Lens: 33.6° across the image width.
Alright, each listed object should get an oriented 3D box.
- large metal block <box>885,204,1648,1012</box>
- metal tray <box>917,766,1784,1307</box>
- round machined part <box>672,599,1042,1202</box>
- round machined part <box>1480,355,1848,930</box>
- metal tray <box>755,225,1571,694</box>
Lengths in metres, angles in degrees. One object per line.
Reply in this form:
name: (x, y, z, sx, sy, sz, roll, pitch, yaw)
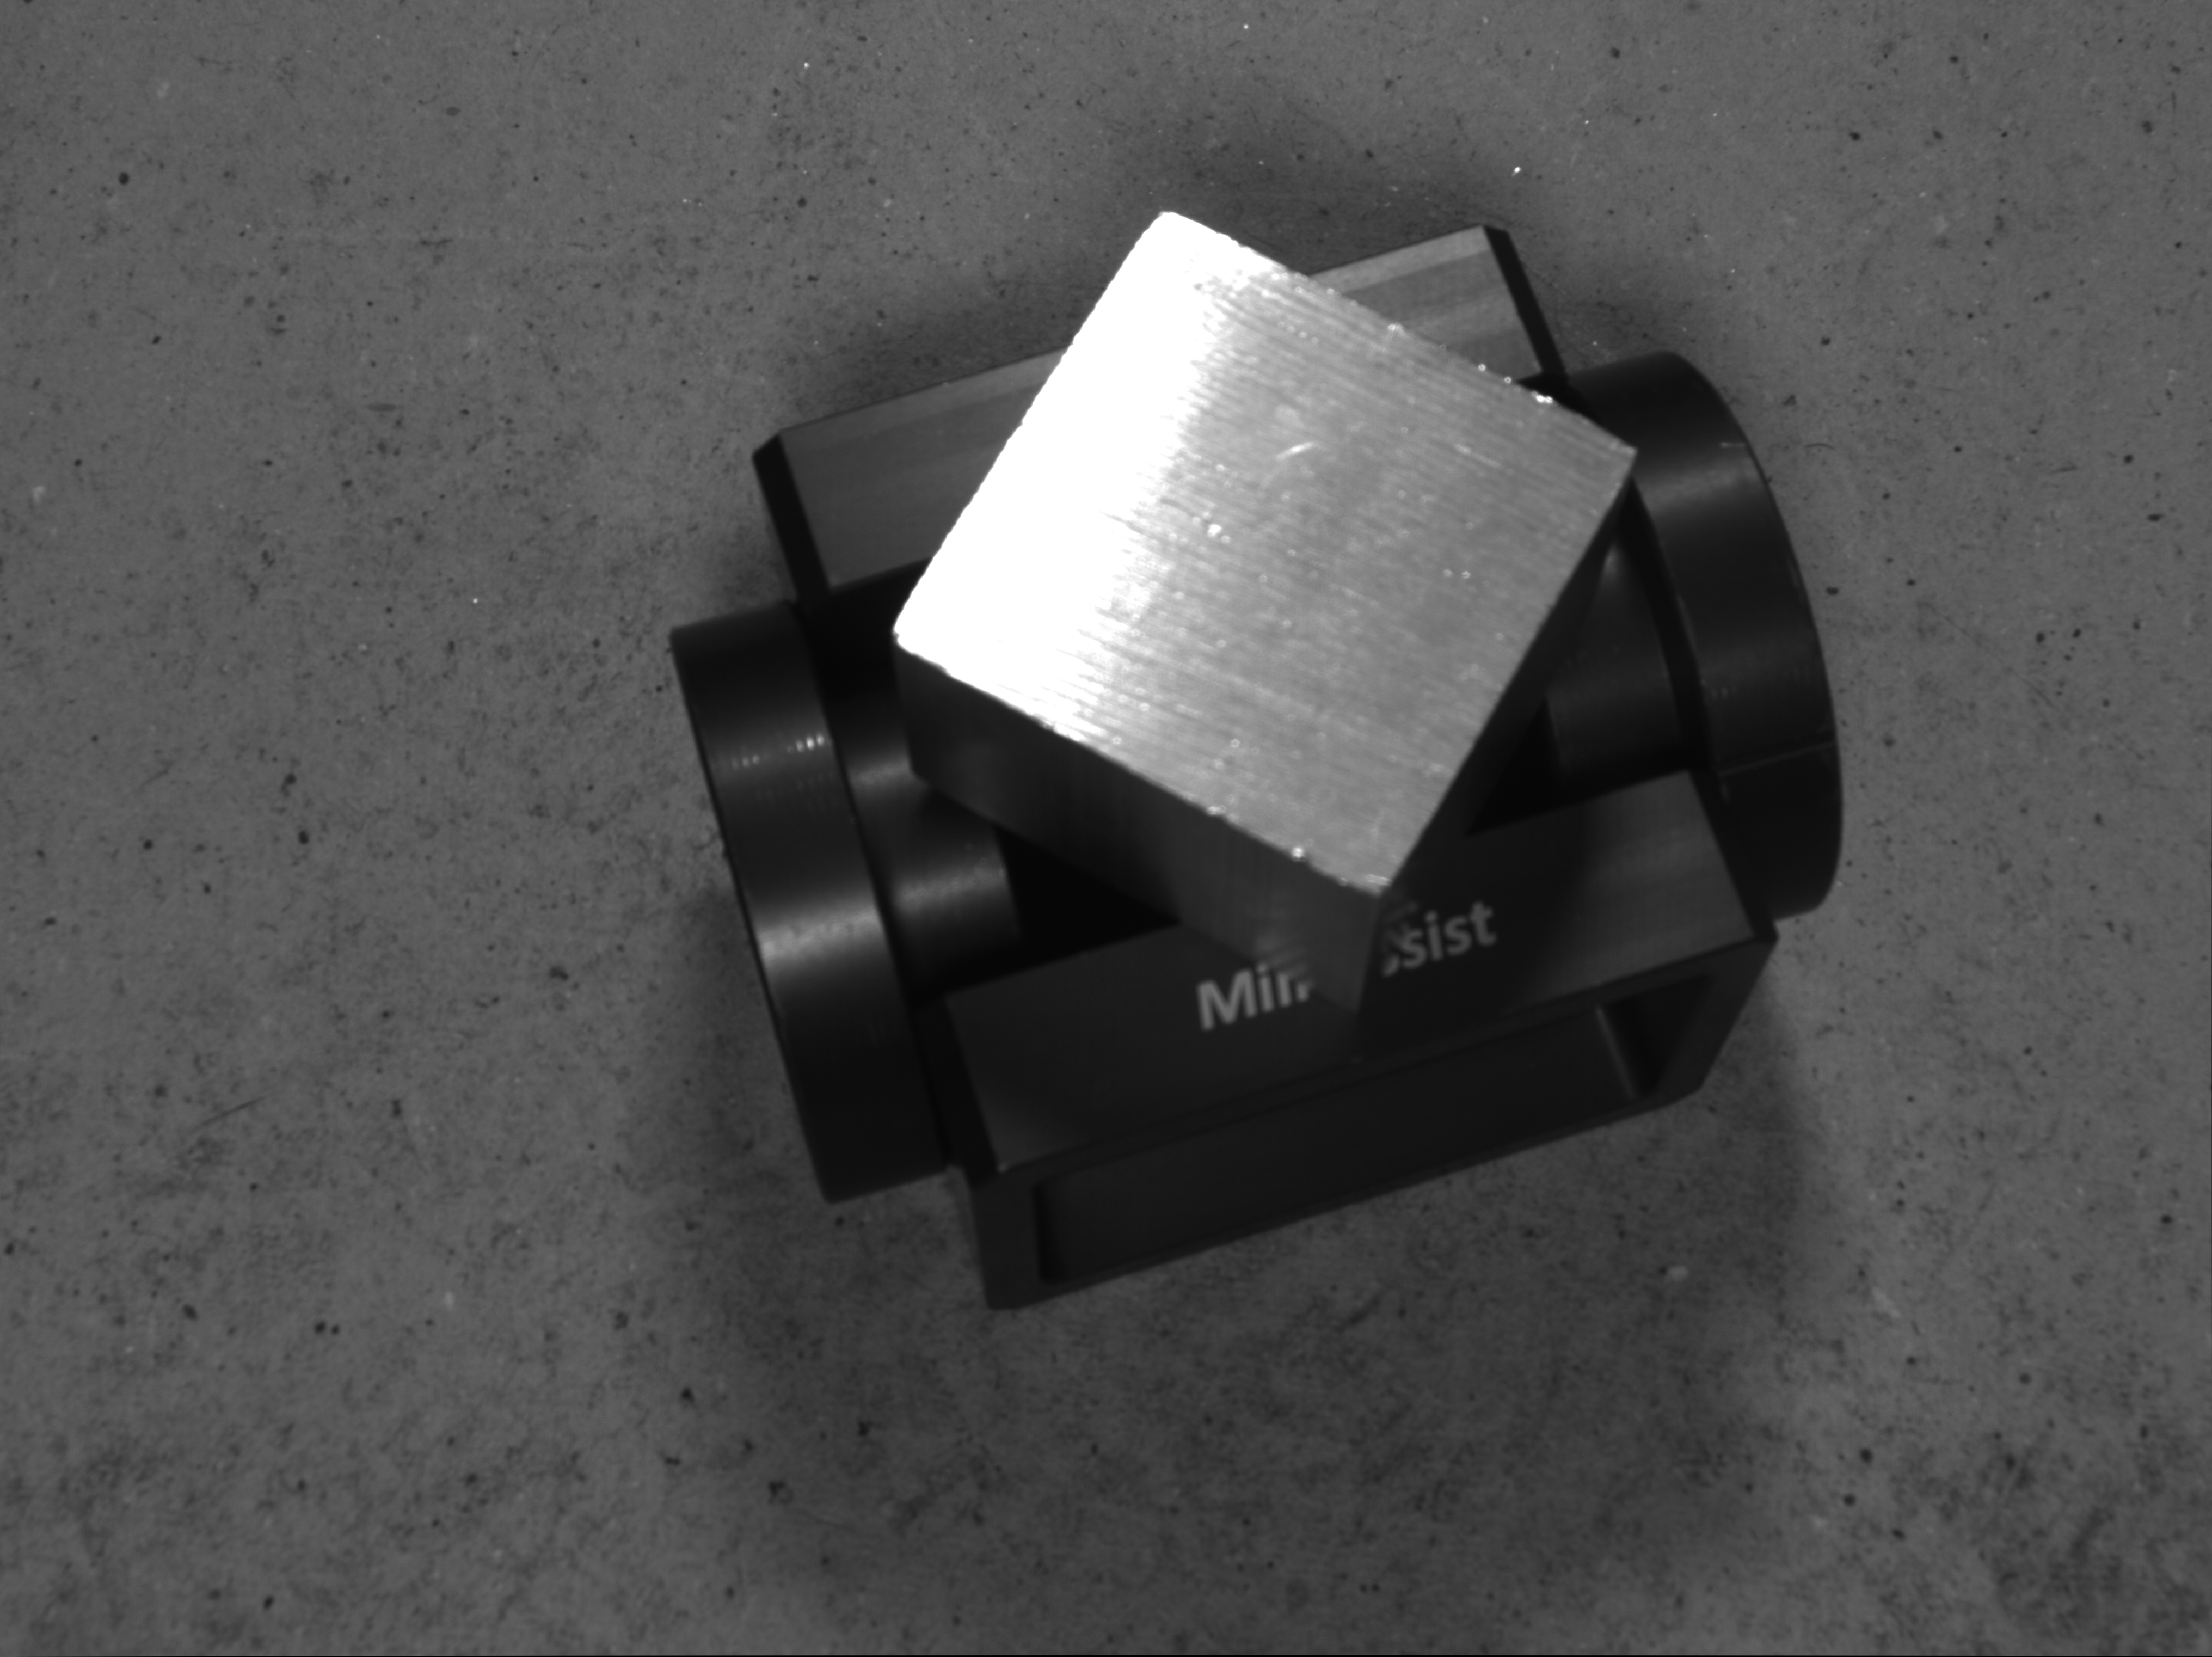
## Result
large metal block: (0.024, -0.032, 0.545, 0.080, 0.050, 0.080, 28, 72, 10)
metal tray: (0.038, 0.036, 0.596, 0.130, 0.090, 0.030, -17, 71, -6)
round machined part: (-0.039, 0.009, 0.602, 0.042, 0.098, 0.098, -15, 70, -5)
round machined part: (0.087, -0.028, 0.616, 0.042, 0.098, 0.098, -15, 70, -5)
metal tray: (0.010, -0.053, 0.631, 0.130, 0.090, 0.030, -17, 71, -6)
